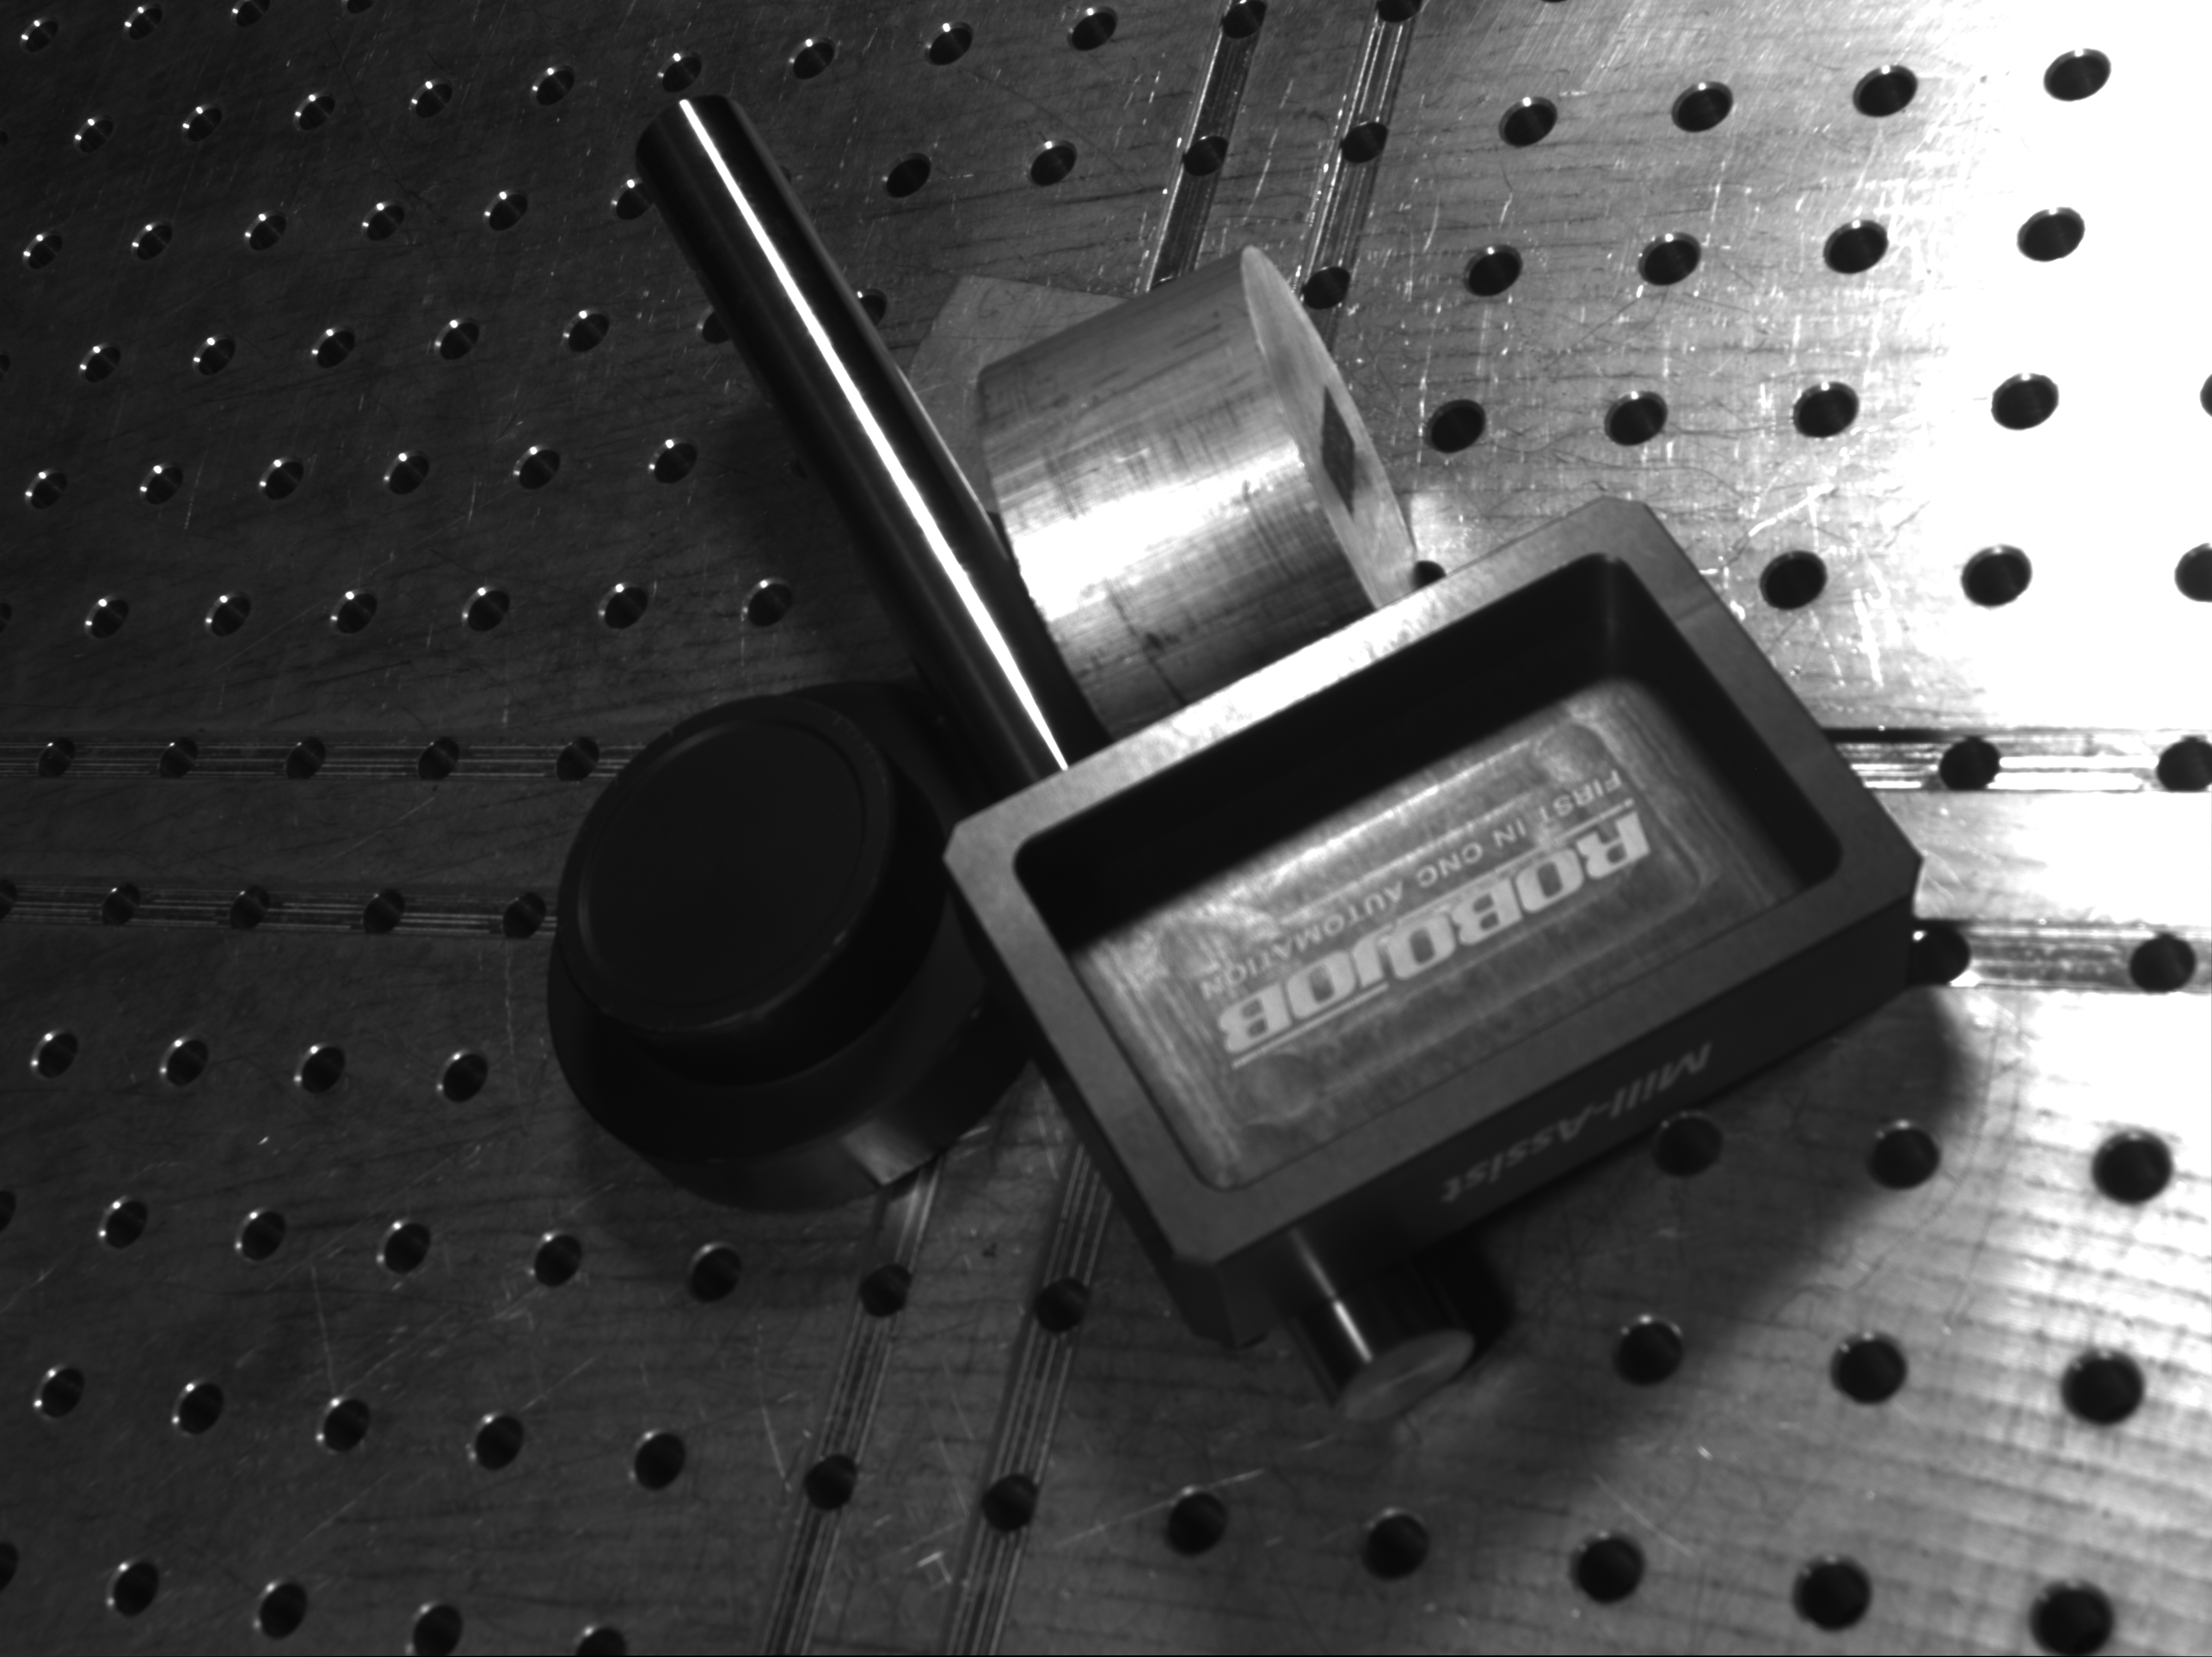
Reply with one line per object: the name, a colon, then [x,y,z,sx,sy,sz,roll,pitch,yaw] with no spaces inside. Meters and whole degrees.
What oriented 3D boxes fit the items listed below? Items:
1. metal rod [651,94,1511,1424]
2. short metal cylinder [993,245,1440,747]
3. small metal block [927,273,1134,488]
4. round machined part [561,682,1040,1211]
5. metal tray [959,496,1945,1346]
metal rod: [-0.013,-0.025,0.648,0.025,0.025,0.299,-34,59,6]
short metal cylinder: [0.021,-0.054,0.633,0.050,0.080,0.080,-23,53,15]
small metal block: [-0.011,-0.076,0.700,0.050,0.025,0.050,14,69,34]
round machined part: [-0.056,0.015,0.656,0.098,0.042,0.098,-13,56,21]
metal tray: [0.054,0.012,0.580,0.130,0.030,0.090,-27,58,-8]
